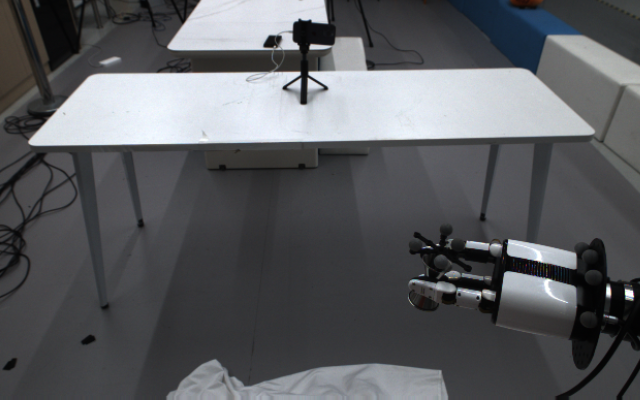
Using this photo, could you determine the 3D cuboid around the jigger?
[{"bbox_3d":[0.146,0.108,0.649,0.043,0.071,0.043,9,30,-5],"label":"jigger"}]
